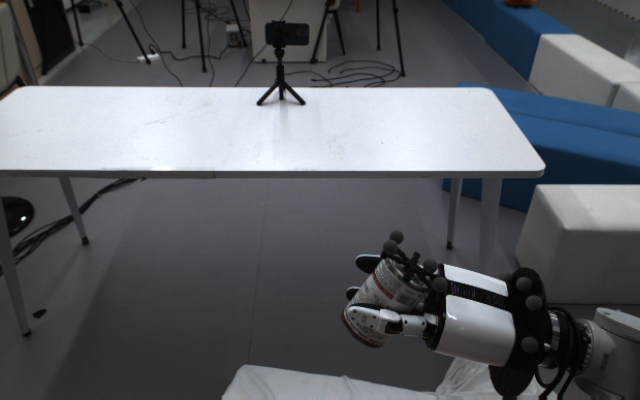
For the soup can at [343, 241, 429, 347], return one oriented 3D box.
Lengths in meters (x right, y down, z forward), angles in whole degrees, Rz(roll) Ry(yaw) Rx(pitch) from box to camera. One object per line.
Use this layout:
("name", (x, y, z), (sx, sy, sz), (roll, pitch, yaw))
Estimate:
("soup can", (0.083, 0.122, 0.596), (0.067, 0.101, 0.067), (28, 22, -12))
